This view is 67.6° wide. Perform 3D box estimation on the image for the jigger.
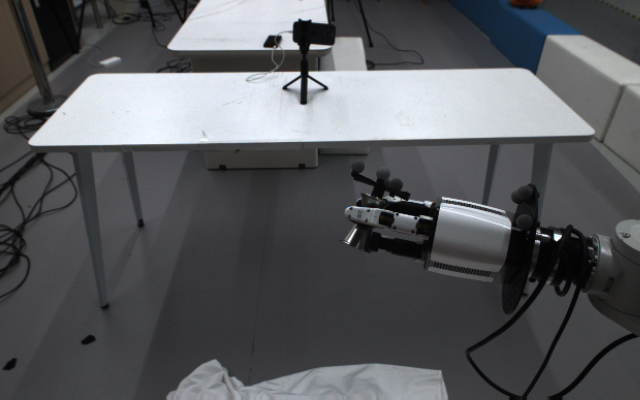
[{"bbox_3d":[0.056,0.028,0.618,0.043,0.071,0.043,24,-3,1],"label":"jigger"}]
